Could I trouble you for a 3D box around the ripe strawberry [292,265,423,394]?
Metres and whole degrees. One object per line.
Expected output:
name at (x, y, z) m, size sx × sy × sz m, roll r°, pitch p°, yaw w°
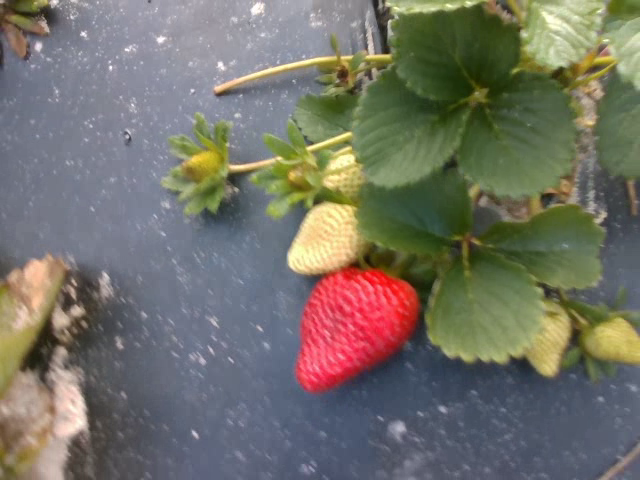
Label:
ripe strawberry at (0.007, 0.039, 0.232) m, size 0.051 × 0.048 × 0.055 m, roll 10°, pitch 43°, yaw 45°
